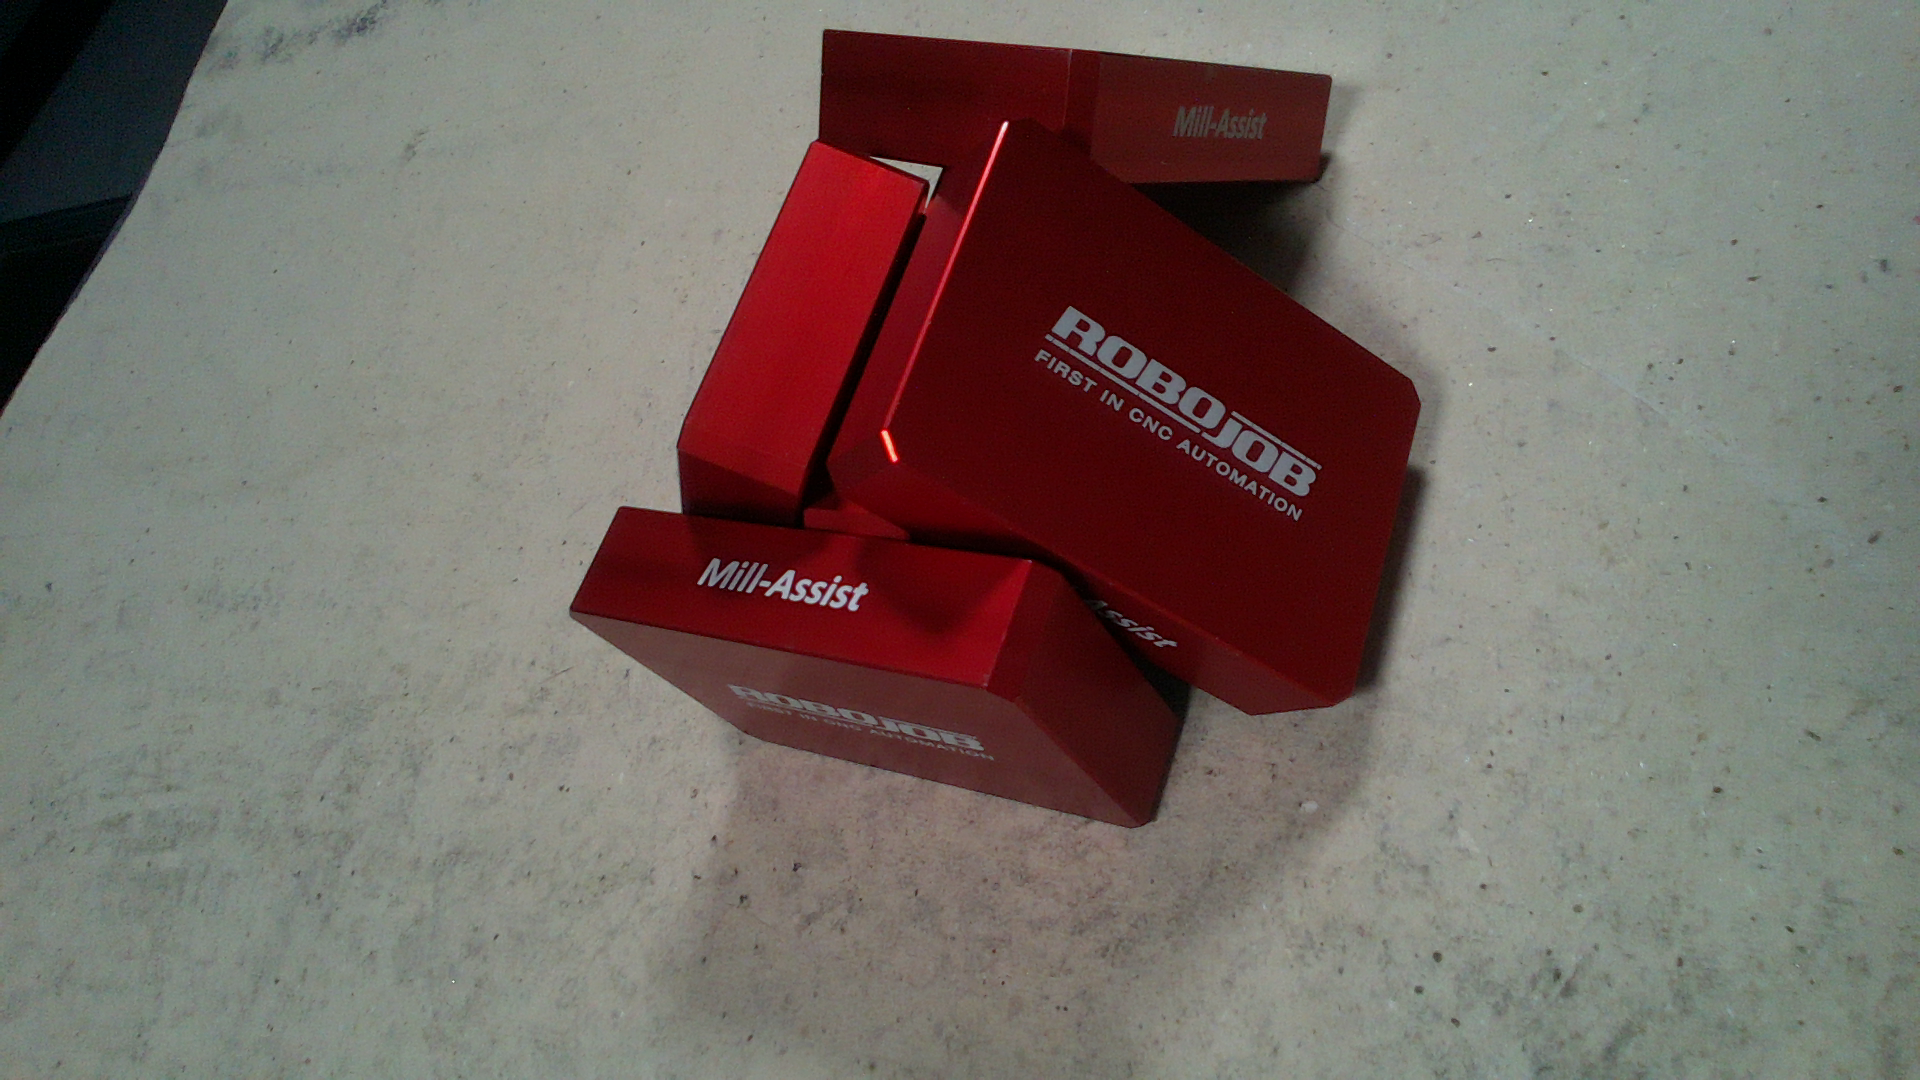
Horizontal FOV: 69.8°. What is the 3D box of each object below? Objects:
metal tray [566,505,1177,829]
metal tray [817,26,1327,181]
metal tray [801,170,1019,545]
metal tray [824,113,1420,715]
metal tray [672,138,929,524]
[{"bbox_3d":[-0.022,0.032,0.344,0.129,0.090,0.030,7,65,32],"label":"metal tray"},{"bbox_3d":[0.035,-0.123,0.391,0.090,0.131,0.030,19,113,35],"label":"metal tray"},{"bbox_3d":[0.014,-0.039,0.368,0.030,0.090,0.130,7,65,32],"label":"metal tray"},{"bbox_3d":[0.044,-0.026,0.321,0.030,0.130,0.090,-21,45,59],"label":"metal tray"},{"bbox_3d":[-0.045,-0.035,0.377,0.030,0.130,0.090,21,69,-2],"label":"metal tray"}]
